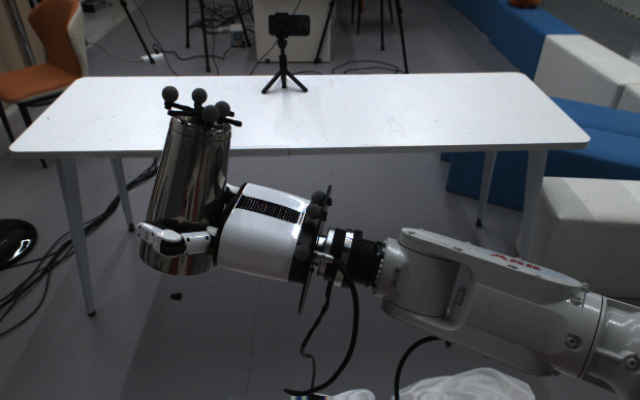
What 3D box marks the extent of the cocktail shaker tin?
[{"bbox_3d":[-0.150,-0.009,0.558,0.093,0.170,0.093,13,20,-5],"label":"cocktail shaker tin"}]
